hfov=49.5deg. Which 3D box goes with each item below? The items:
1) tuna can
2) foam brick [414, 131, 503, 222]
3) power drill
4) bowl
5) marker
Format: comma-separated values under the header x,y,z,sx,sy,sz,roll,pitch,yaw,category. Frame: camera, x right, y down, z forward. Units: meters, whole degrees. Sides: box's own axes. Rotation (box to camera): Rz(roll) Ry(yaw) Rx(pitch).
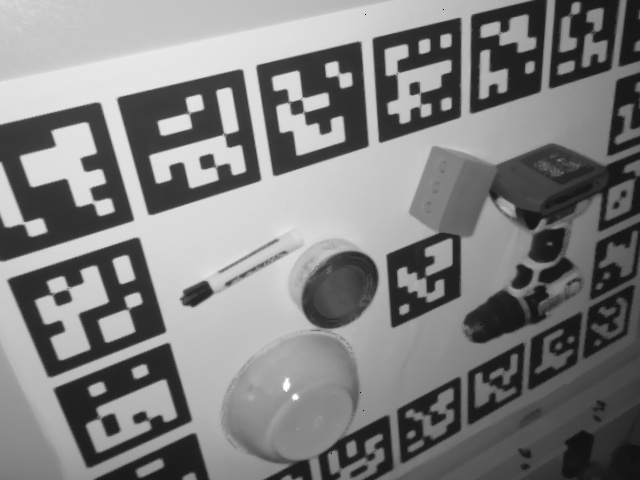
x,y,z,sx,sy,sz,roll,pitch,yaw,category
0.015,0.033,0.669,0.087,0.033,0.085,-12,118,-22,tuna can
0.138,-0.063,0.691,0.052,0.052,0.077,6,108,-30,foam brick
0.256,0.002,0.782,0.186,0.057,0.185,-18,123,-17,power drill
-0.015,0.160,0.711,0.164,0.055,0.160,-18,127,-25,bowl
-0.070,0.010,0.618,0.122,0.019,0.019,-27,122,-16,marker
